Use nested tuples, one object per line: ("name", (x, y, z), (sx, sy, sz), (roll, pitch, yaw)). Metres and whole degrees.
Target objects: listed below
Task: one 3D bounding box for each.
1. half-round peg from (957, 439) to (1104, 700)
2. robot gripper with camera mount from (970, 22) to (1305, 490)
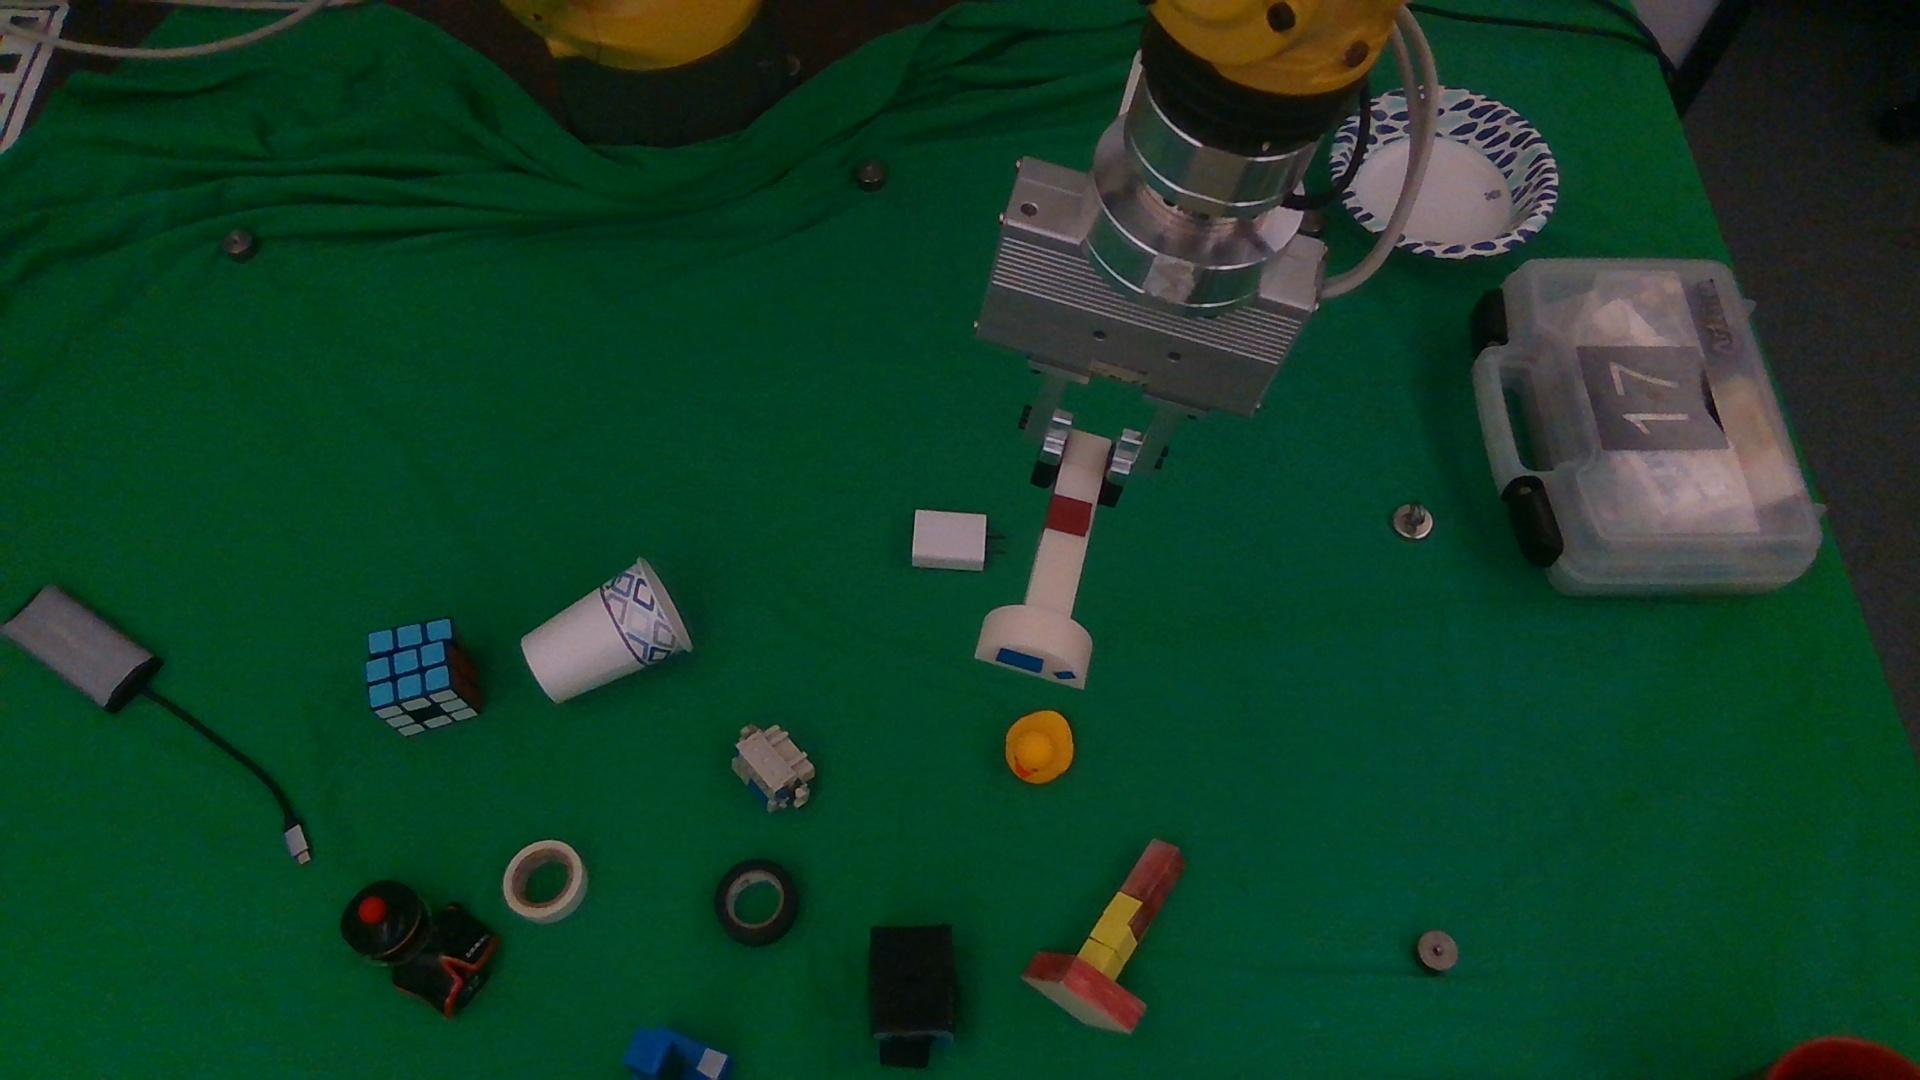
("half-round peg", (0.040, 0.008, 0.620), (0.054, 0.031, 0.122), (17, 59, 1))
("robot gripper with camera mount", (0.078, -0.140, 0.624), (0.119, 0.159, 0.193), (14, 60, 0))
